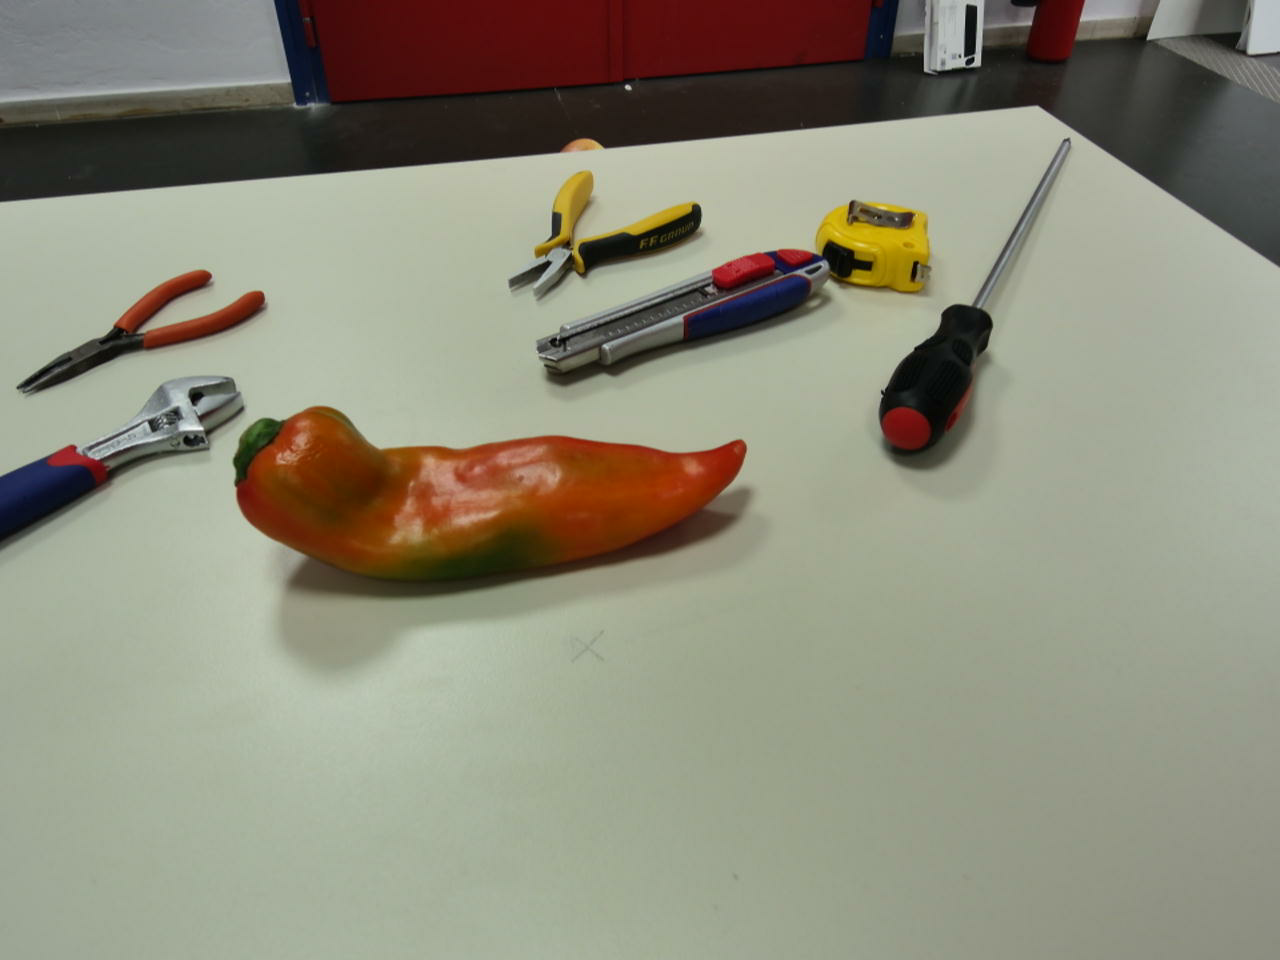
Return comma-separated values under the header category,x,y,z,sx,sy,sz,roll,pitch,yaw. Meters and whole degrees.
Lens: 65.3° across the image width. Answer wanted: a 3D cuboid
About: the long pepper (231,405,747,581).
category,x,y,z,sx,sy,sz,roll,pitch,yaw
long pepper,-0.053,-0.003,0.393,0.199,0.065,0.066,-5,39,-7
